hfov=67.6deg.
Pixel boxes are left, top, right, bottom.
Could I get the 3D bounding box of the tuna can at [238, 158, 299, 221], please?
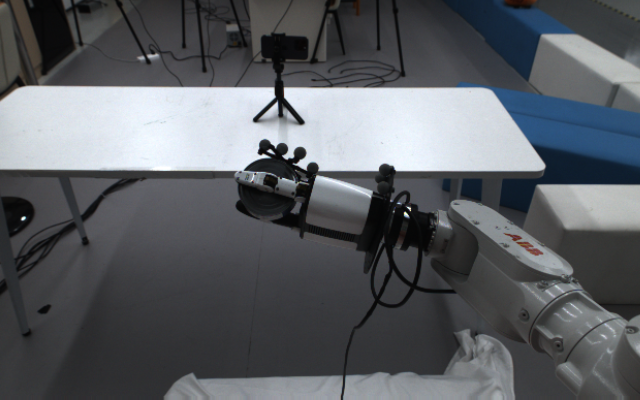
[{"bbox_3d":[-0.072,-0.016,0.695,0.085,0.034,0.085,0,72,0],"label":"tuna can"}]
